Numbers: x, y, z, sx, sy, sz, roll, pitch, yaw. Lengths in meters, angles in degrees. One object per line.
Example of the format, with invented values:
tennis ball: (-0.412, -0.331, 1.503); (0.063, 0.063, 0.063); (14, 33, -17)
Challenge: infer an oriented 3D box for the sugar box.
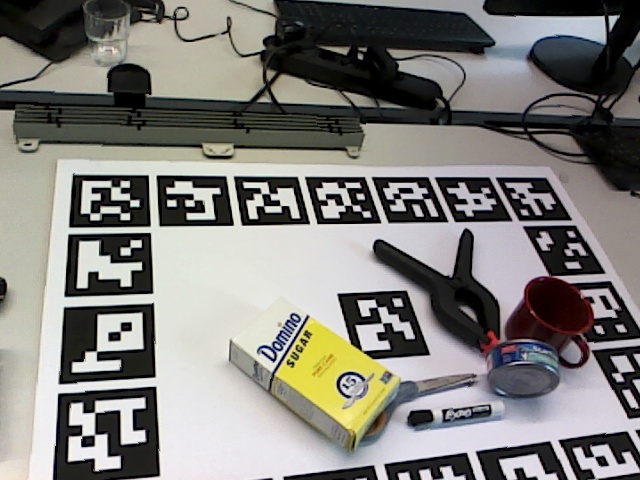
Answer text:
sugar box: (-0.004, 0.146, 0.723); (0.177, 0.045, 0.092); (36, 49, 24)

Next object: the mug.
mug: (0.294, 0.121, 0.815); (0.093, 0.081, 0.118); (-25, 56, -32)

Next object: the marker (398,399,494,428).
marker: (0.150, 0.206, 0.737); (0.120, 0.019, 0.020); (-4, 51, -18)

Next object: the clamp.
clamp: (0.184, 0.071, 0.870); (0.164, 0.036, 0.204); (-9, 53, -23)

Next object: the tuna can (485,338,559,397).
tuna can: (0.248, 0.158, 0.762); (0.085, 0.085, 0.034); (13, 47, -4)

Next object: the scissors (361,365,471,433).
scissors: (0.099, 0.174, 0.749); (0.202, 0.016, 0.088); (-8, 48, -24)
